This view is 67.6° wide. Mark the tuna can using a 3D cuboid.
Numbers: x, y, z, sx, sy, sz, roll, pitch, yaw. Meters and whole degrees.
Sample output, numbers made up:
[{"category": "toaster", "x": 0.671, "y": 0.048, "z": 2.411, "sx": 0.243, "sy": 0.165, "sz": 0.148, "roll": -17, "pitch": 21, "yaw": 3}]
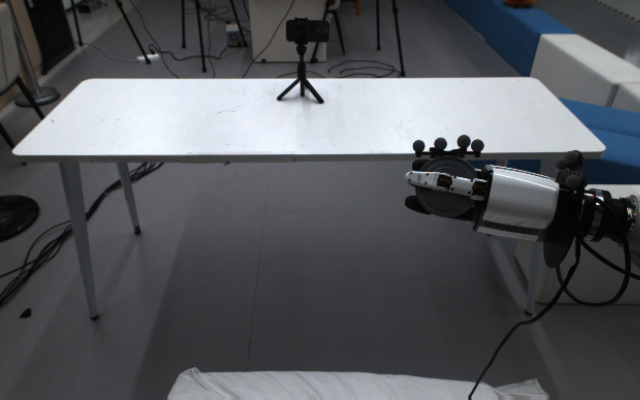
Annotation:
[{"category": "tuna can", "x": 0.178, "y": -0.020, "z": 0.677, "sx": 0.085, "sy": 0.085, "sz": 0.034, "roll": 14, "pitch": -3, "yaw": 16}]
